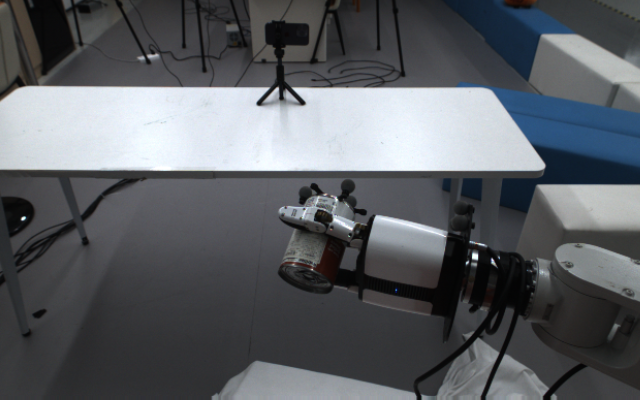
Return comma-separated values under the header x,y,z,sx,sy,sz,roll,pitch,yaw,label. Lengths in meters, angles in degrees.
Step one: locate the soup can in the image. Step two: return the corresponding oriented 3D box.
x,y,z,sx,sy,sz,roll,pitch,yaw,label
-0.001,0.050,0.581,0.067,0.067,0.101,12,59,14,soup can
